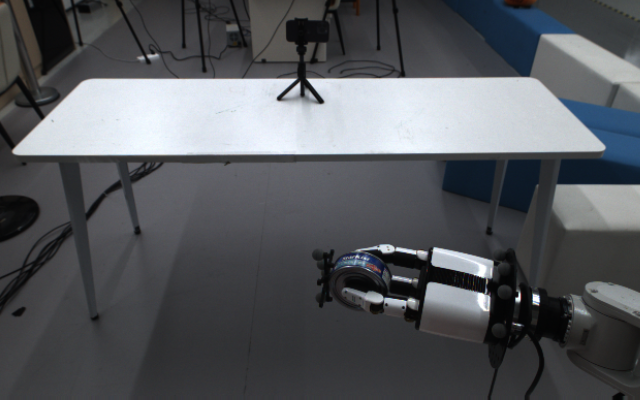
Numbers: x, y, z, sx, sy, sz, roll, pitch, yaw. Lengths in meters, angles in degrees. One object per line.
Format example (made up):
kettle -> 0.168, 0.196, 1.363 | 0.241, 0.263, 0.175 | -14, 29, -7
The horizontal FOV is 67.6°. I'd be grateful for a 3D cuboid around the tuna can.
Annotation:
tuna can -> 0.058, 0.117, 0.678 | 0.085, 0.085, 0.034 | 9, 32, 10
